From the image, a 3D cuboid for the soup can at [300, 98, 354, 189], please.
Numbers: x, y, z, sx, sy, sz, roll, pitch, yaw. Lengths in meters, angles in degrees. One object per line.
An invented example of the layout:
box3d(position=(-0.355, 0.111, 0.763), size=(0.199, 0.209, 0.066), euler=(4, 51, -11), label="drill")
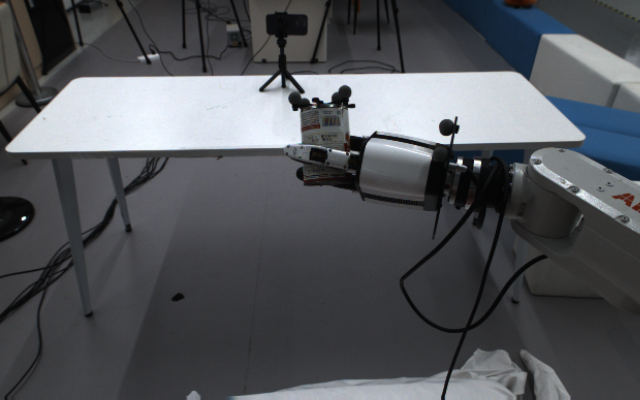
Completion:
box3d(position=(0.009, -0.071, 0.651), size=(0.067, 0.101, 0.067), euler=(-3, -1, 0), label="soup can")
